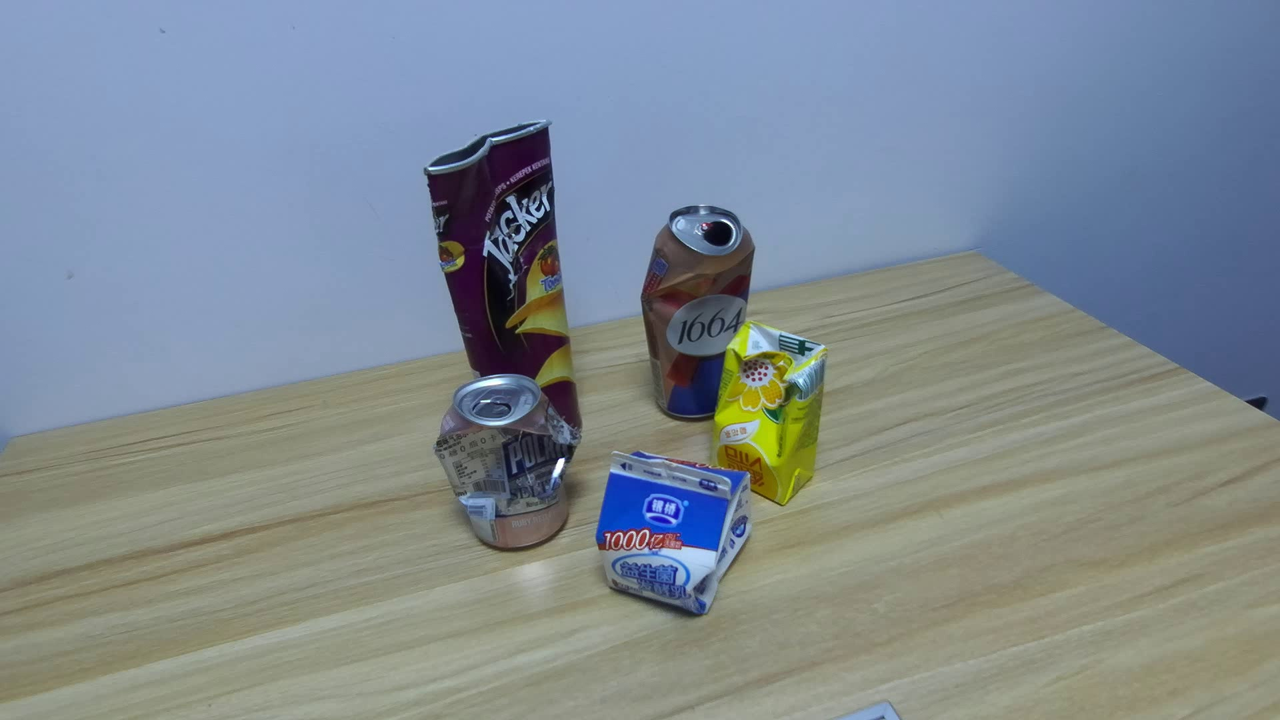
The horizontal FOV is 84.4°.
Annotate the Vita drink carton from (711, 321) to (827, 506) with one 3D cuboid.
[{"bbox_3d":[0.085,0.037,0.485,0.071,0.110,0.046,22,38,36],"label":"Vita drink carton"}]

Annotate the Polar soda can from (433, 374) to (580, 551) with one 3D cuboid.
[{"bbox_3d":[-0.083,0.065,0.460,0.070,0.114,0.074,21,44,26],"label":"Polar soda can"}]

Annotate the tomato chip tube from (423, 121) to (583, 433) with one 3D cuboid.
[{"bbox_3d":[-0.092,-0.040,0.511,0.090,0.236,0.077,-10,34,-14],"label":"tomato chip tube"}]

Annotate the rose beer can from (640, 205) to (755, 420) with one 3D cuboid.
[{"bbox_3d":[0.045,-0.032,0.543,0.069,0.168,0.069,13,38,19],"label":"rose beer can"}]

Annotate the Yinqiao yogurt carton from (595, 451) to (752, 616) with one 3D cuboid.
[{"bbox_3d":[0.020,0.093,0.415,0.074,0.097,0.080,9,42,20],"label":"Yinqiao yogurt carton"}]
